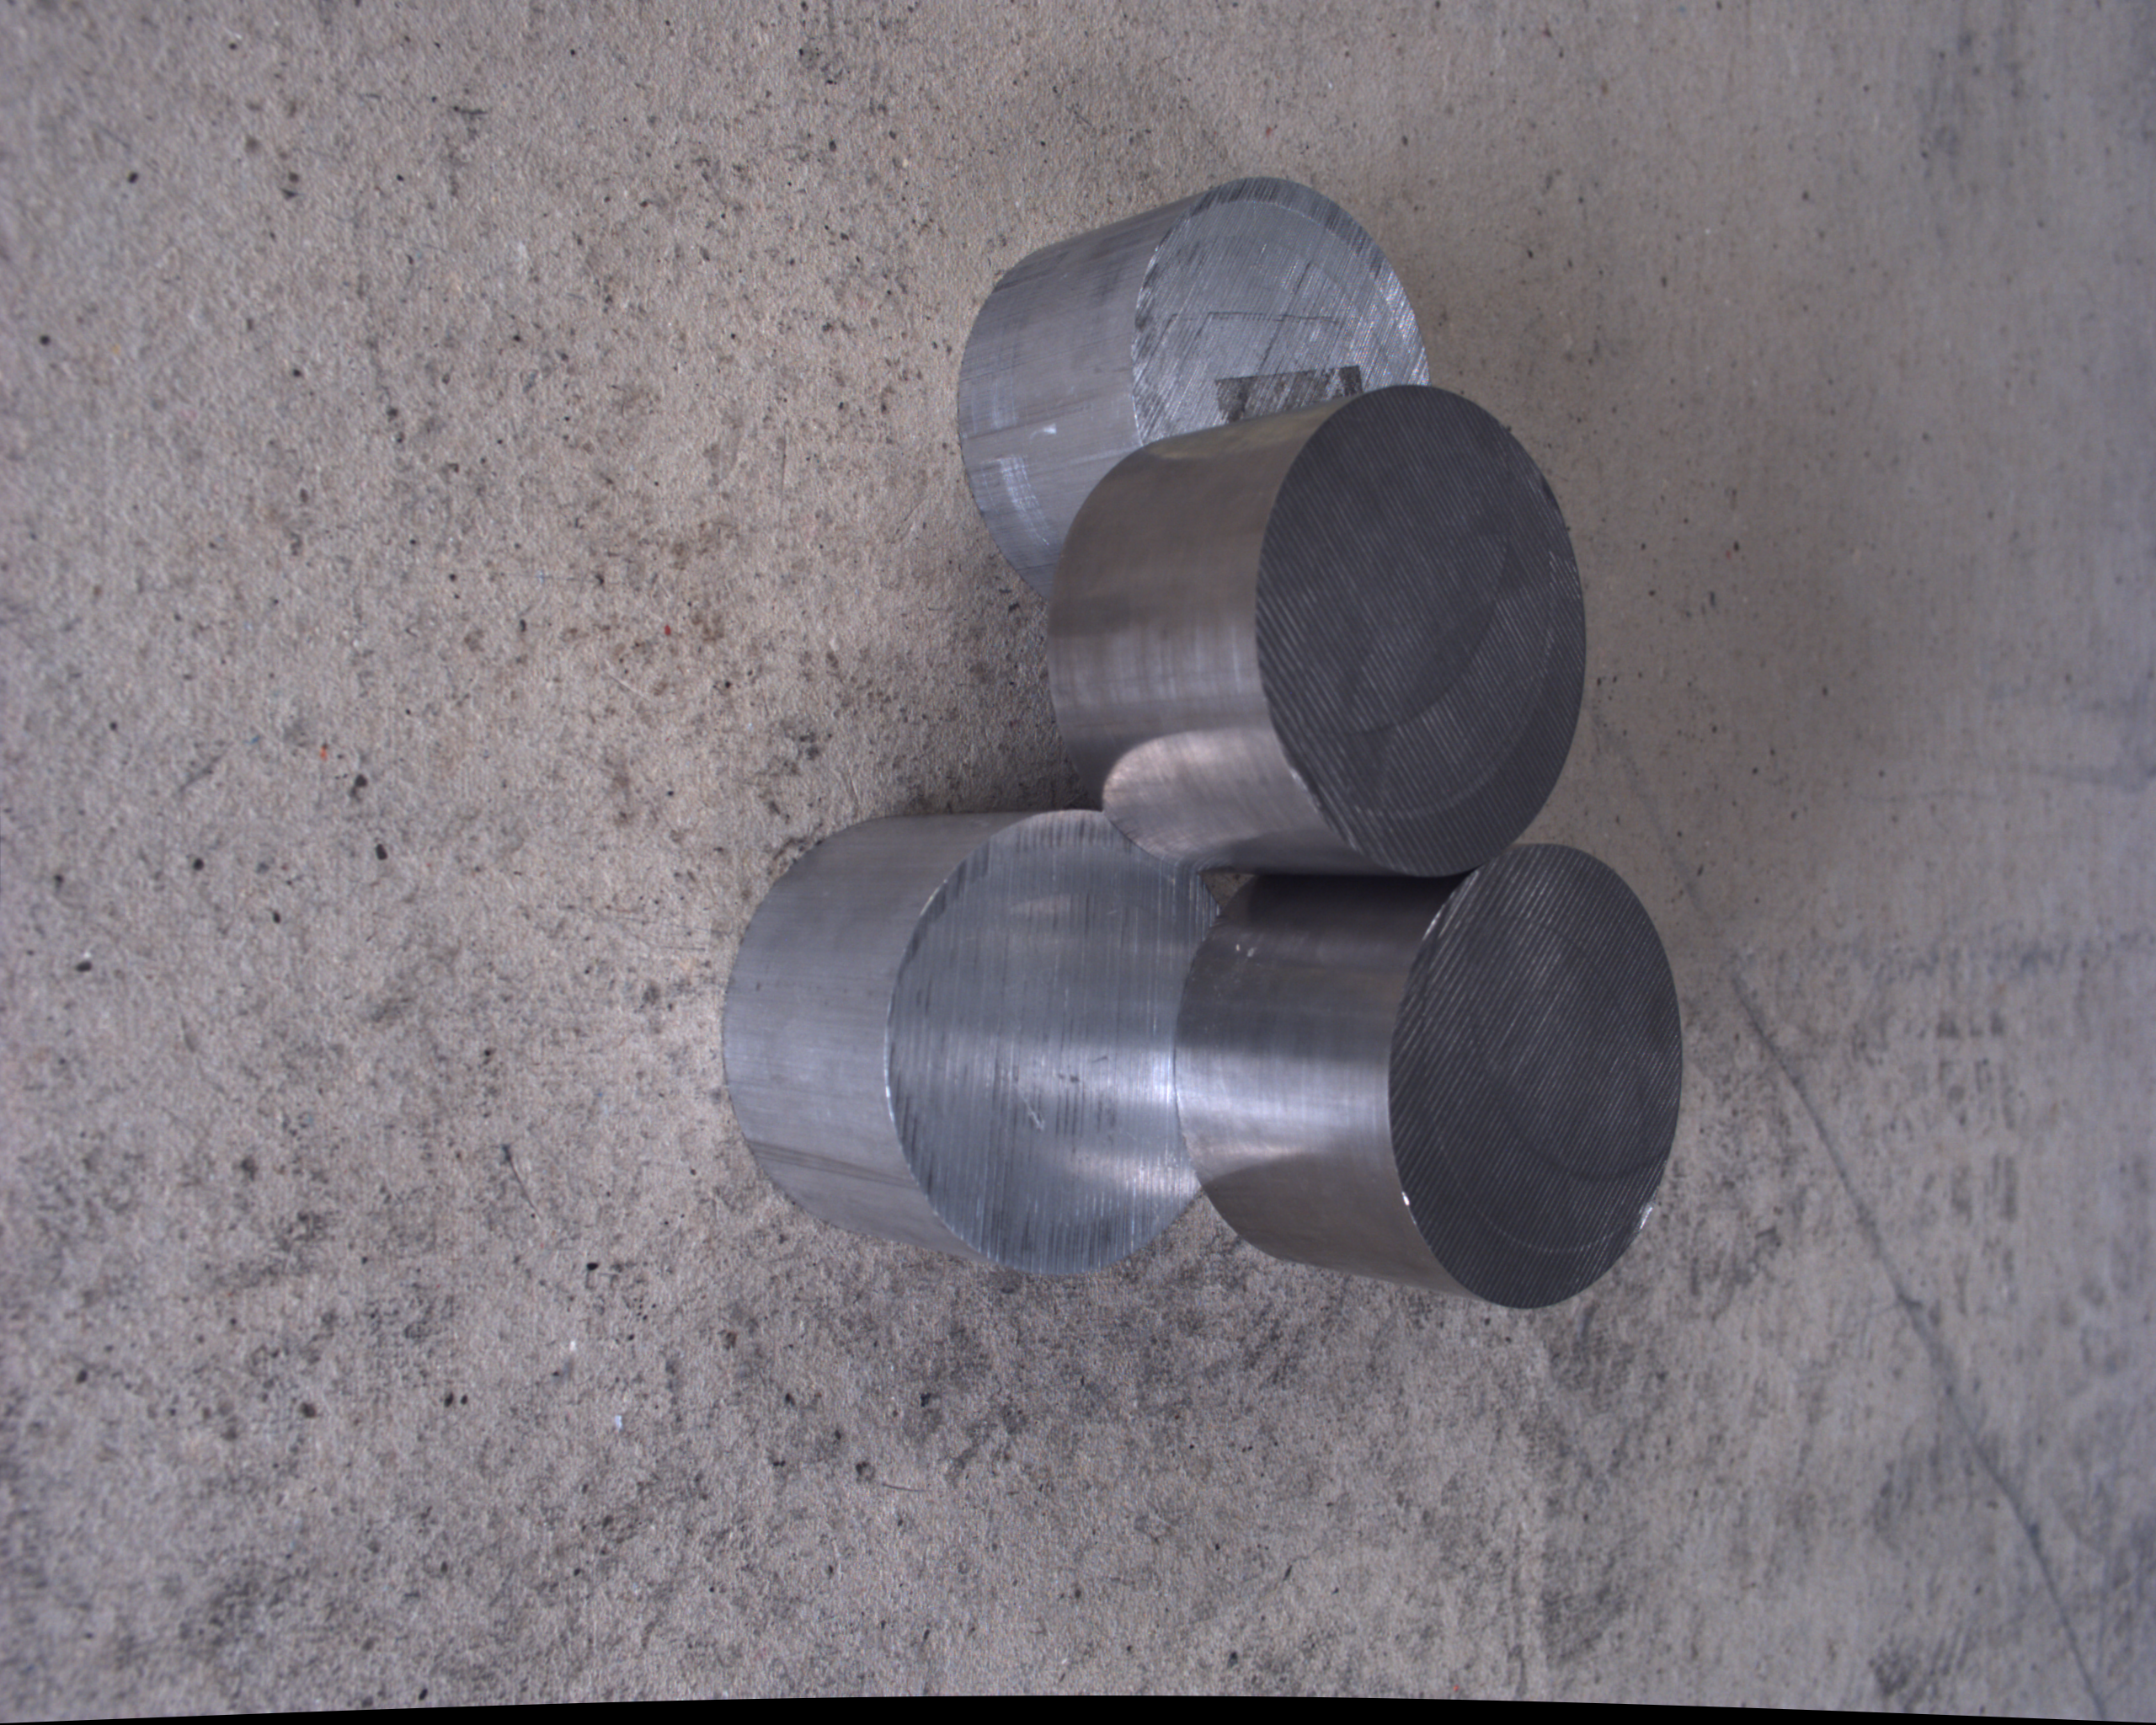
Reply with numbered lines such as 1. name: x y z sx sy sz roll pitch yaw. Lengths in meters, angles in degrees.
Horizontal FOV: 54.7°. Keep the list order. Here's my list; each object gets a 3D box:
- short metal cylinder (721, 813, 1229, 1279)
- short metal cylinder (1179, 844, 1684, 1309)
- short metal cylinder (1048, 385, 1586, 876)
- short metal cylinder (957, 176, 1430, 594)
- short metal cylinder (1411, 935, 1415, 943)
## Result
1. short metal cylinder: -0.016 0.031 0.376 0.081 0.050 0.080 0 90 -40
2. short metal cylinder: 0.065 0.037 0.378 0.081 0.050 0.080 0 90 -40
3. short metal cylinder: 0.042 -0.038 0.359 0.081 0.050 0.080 0 90 -40
4. short metal cylinder: 0.024 -0.088 0.410 0.081 0.050 0.080 0 90 -40
5. short metal cylinder: 0.073 0.042 0.450 0.081 0.050 0.080 0 90 -40
